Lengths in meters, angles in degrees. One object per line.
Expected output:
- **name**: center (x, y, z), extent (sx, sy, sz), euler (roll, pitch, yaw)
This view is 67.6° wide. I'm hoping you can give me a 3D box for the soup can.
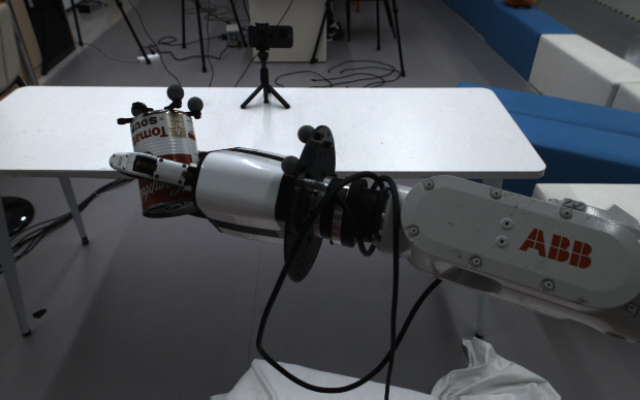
- **soup can**: center (-0.162, -0.037, 0.524), extent (0.067, 0.067, 0.101), euler (-10, 80, -17)
